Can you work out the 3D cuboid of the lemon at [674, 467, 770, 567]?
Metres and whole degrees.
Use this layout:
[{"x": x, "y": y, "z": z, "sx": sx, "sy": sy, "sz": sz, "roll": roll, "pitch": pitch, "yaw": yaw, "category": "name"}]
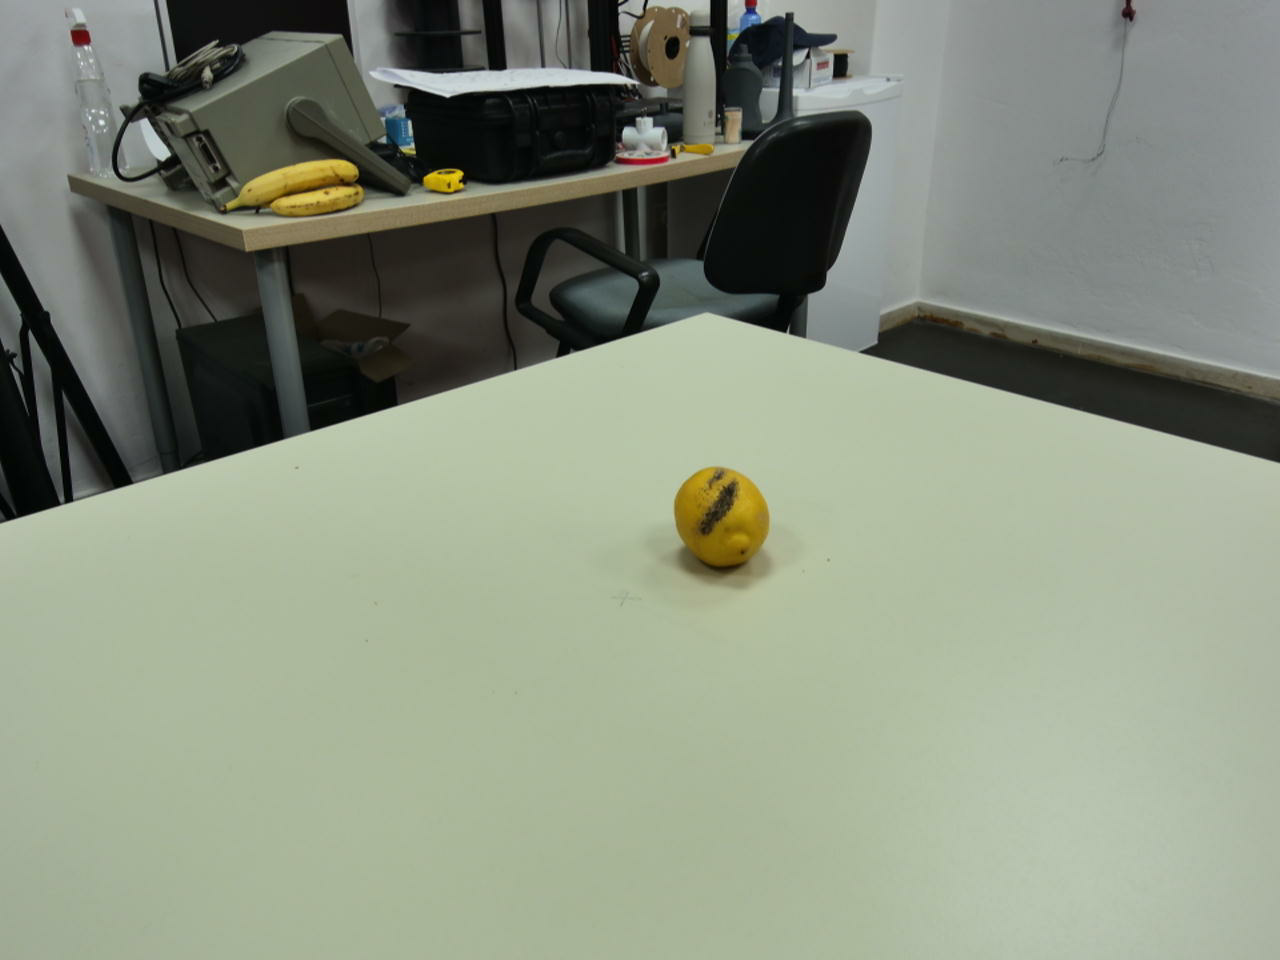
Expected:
[{"x": 0.050, "y": 0.022, "z": 0.603, "sx": 0.061, "sy": 0.056, "sz": 0.058, "roll": 19, "pitch": 30, "yaw": 36, "category": "lemon"}]
